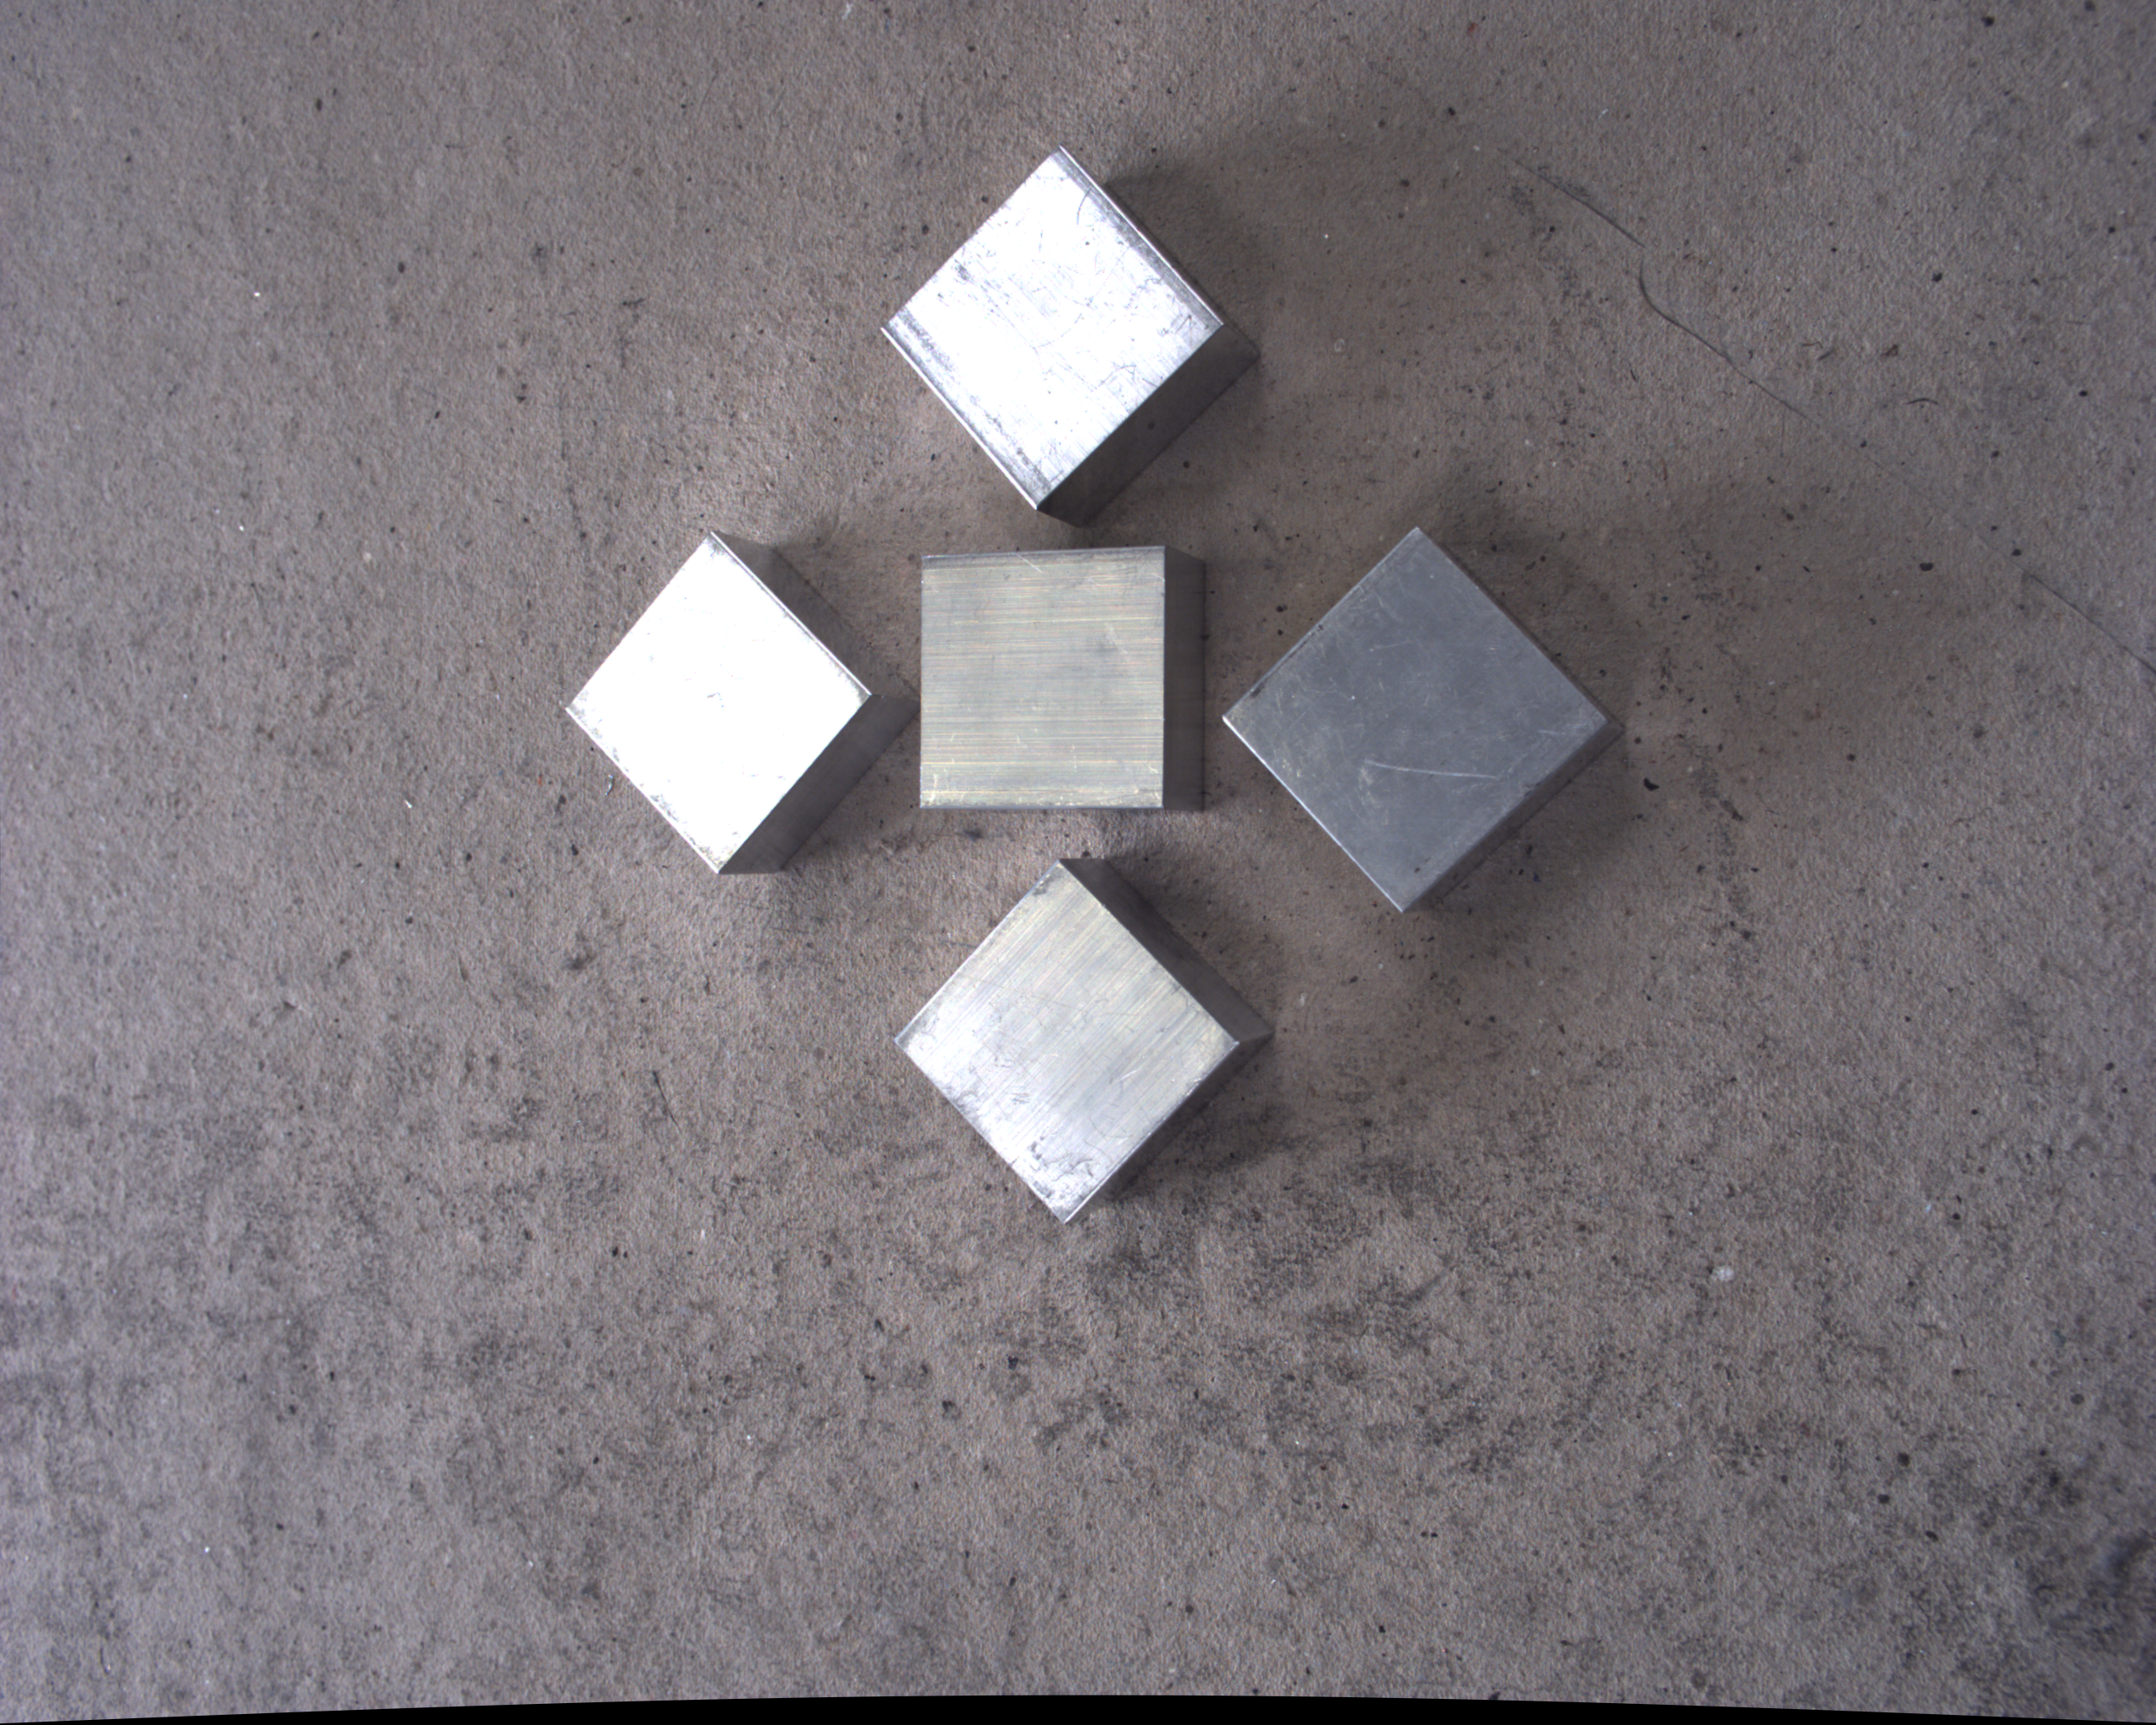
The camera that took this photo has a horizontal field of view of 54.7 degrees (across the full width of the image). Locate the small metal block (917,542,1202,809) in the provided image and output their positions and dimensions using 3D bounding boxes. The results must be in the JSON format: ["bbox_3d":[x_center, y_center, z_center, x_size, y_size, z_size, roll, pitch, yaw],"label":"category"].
[{"bbox_3d":[-0.003,-0.036,0.411,0.050,0.025,0.050,0,90,20],"label":"small metal block"}]

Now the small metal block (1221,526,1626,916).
[{"bbox_3d":[0.064,-0.026,0.388,0.050,0.025,0.050,-45,77,14],"label":"small metal block"}]

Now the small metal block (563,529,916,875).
[{"bbox_3d":[-0.069,-0.033,0.435,0.050,0.025,0.050,45,103,14],"label":"small metal block"}]

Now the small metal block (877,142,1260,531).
[{"bbox_3d":[-0.002,-0.102,0.410,0.050,0.025,0.050,-42,76,14],"label":"small metal block"}]

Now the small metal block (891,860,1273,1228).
[{"bbox_3d":[0.001,0.035,0.410,0.050,0.025,0.050,46,103,14],"label":"small metal block"}]
